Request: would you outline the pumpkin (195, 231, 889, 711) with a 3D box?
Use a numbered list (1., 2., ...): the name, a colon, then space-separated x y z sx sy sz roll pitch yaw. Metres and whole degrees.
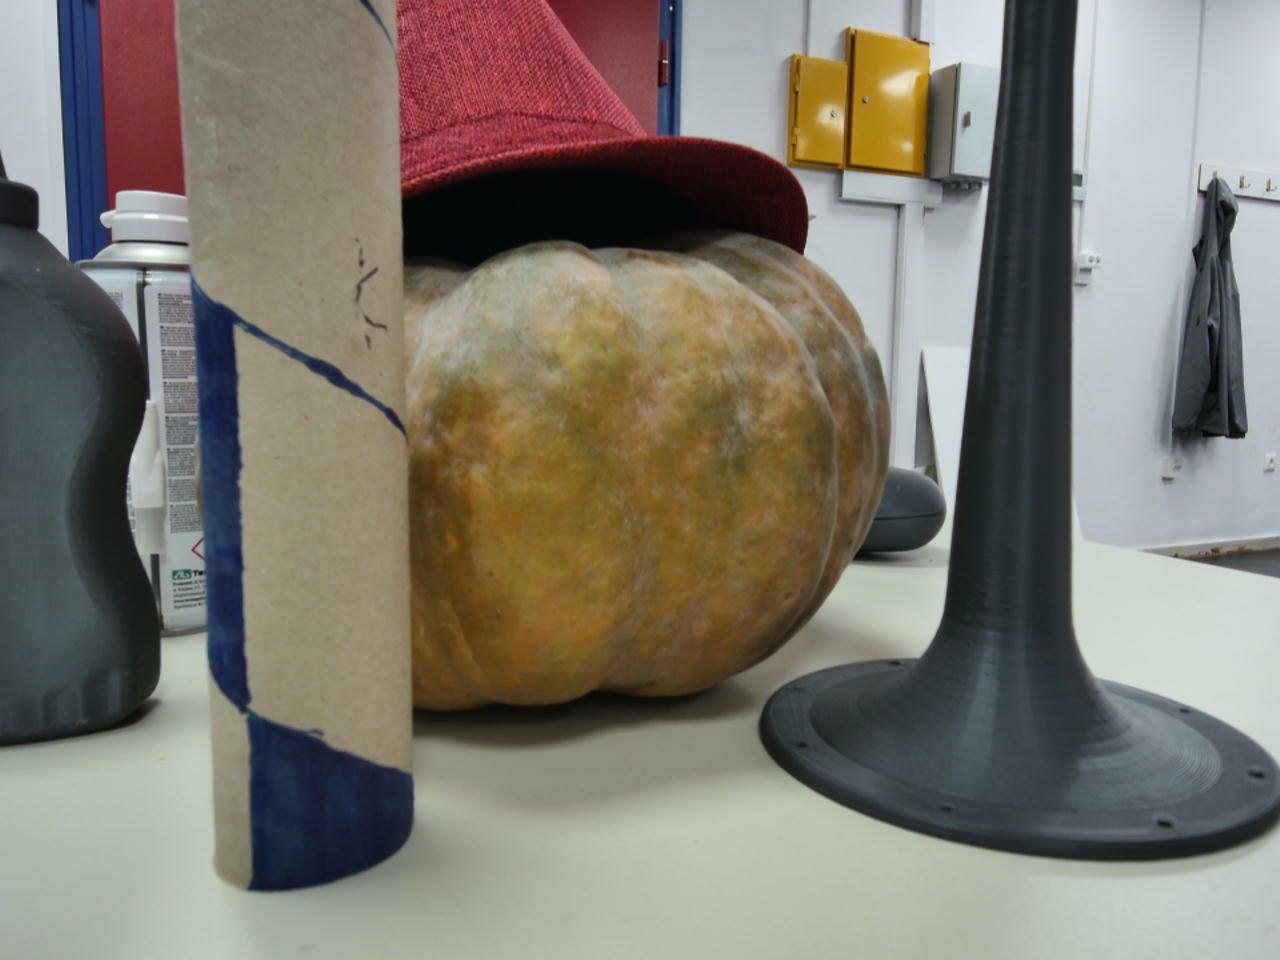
1. pumpkin: -0.036 -0.009 0.378 0.252 0.168 0.252 0 4 0
